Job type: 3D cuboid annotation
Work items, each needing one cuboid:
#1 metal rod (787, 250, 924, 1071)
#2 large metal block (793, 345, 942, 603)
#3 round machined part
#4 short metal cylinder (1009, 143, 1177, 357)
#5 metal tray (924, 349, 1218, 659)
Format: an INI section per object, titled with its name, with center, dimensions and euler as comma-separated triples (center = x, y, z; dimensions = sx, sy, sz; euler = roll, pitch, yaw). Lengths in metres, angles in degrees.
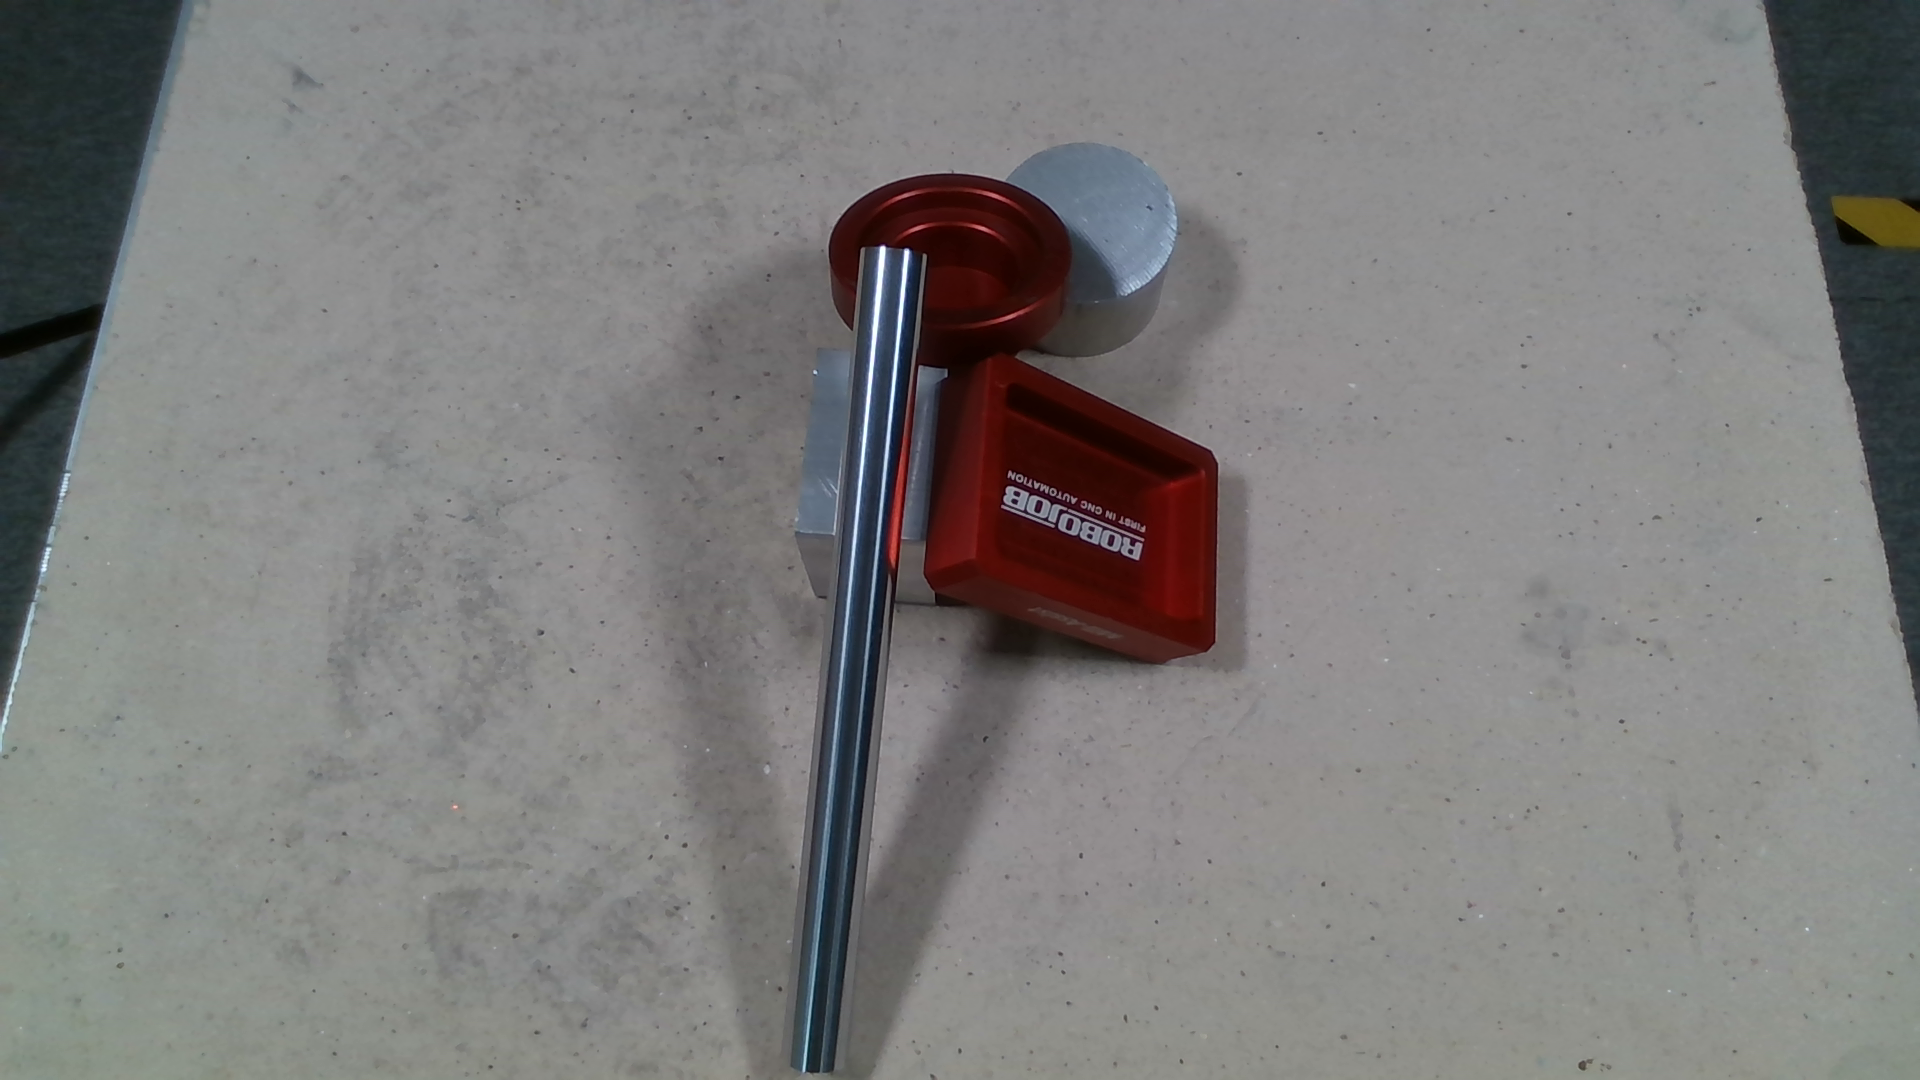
[metal rod]
center = -0.039, 0.046, 0.509
dimensions = 0.025, 0.025, 0.300
euler = 6, 94, 2
[large metal block]
center = -0.035, -0.024, 0.567
dimensions = 0.050, 0.080, 0.080
euler = 4, 70, 2
[round machined part]
center = -0.004, -0.106, 0.570
dimensions = 0.098, 0.042, 0.098
euler = 1, 50, -1
[short metal cylinder]
center = 0.054, -0.130, 0.622
dimensions = 0.080, 0.050, 0.080
euler = 0, 70, 0
[metal tray]
center = 0.049, -0.010, 0.549
dimensions = 0.130, 0.030, 0.090
euler = 20, 65, -35
